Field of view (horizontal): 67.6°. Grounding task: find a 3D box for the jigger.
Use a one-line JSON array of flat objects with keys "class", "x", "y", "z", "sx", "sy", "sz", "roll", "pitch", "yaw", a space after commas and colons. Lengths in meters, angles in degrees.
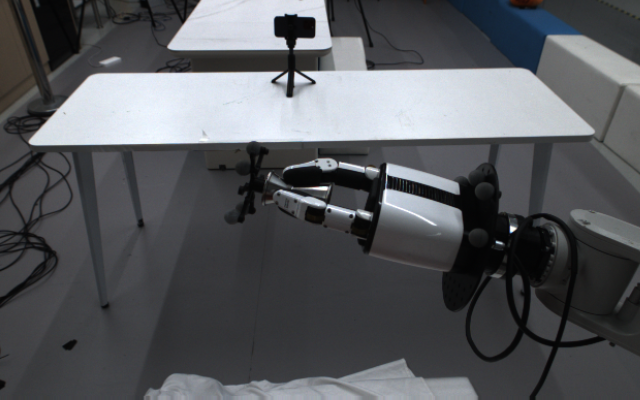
[{"class": "jigger", "x": -0.017, "y": -0.007, "z": 0.521, "sx": 0.071, "sy": 0.043, "sz": 0.043, "roll": 14, "pitch": 36, "yaw": 5}]
